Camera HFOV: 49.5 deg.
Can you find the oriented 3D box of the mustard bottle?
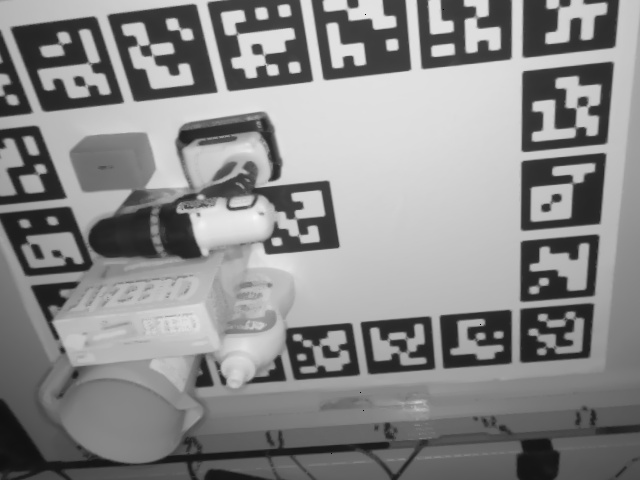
[{"bbox_3d":[-0.097,0.125,0.848,0.096,0.193,0.058,5,118,1],"label":"mustard bottle"}]

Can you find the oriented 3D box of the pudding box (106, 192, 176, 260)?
[{"bbox_3d":[-0.196,-0.020,0.829,0.114,0.090,0.038,-7,120,4],"label":"pudding box"}]

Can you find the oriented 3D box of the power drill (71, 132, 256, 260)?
[{"bbox_3d":[-0.149,-0.046,0.733,0.184,0.189,0.057,-7,121,8],"label":"power drill"}]

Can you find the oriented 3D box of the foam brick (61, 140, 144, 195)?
[{"bbox_3d":[-0.261,-0.085,0.835,0.078,0.052,0.052,-5,116,6],"label":"foam brick"}]

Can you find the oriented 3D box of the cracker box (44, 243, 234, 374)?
[{"bbox_3d":[-0.199,0.049,0.805,0.164,0.215,0.071,-9,120,6],"label":"cracker box"}]

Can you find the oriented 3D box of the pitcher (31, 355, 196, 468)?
[{"bbox_3d":[-0.228,0.146,0.853,0.189,0.244,0.132,-2,119,2],"label":"pitcher"}]
